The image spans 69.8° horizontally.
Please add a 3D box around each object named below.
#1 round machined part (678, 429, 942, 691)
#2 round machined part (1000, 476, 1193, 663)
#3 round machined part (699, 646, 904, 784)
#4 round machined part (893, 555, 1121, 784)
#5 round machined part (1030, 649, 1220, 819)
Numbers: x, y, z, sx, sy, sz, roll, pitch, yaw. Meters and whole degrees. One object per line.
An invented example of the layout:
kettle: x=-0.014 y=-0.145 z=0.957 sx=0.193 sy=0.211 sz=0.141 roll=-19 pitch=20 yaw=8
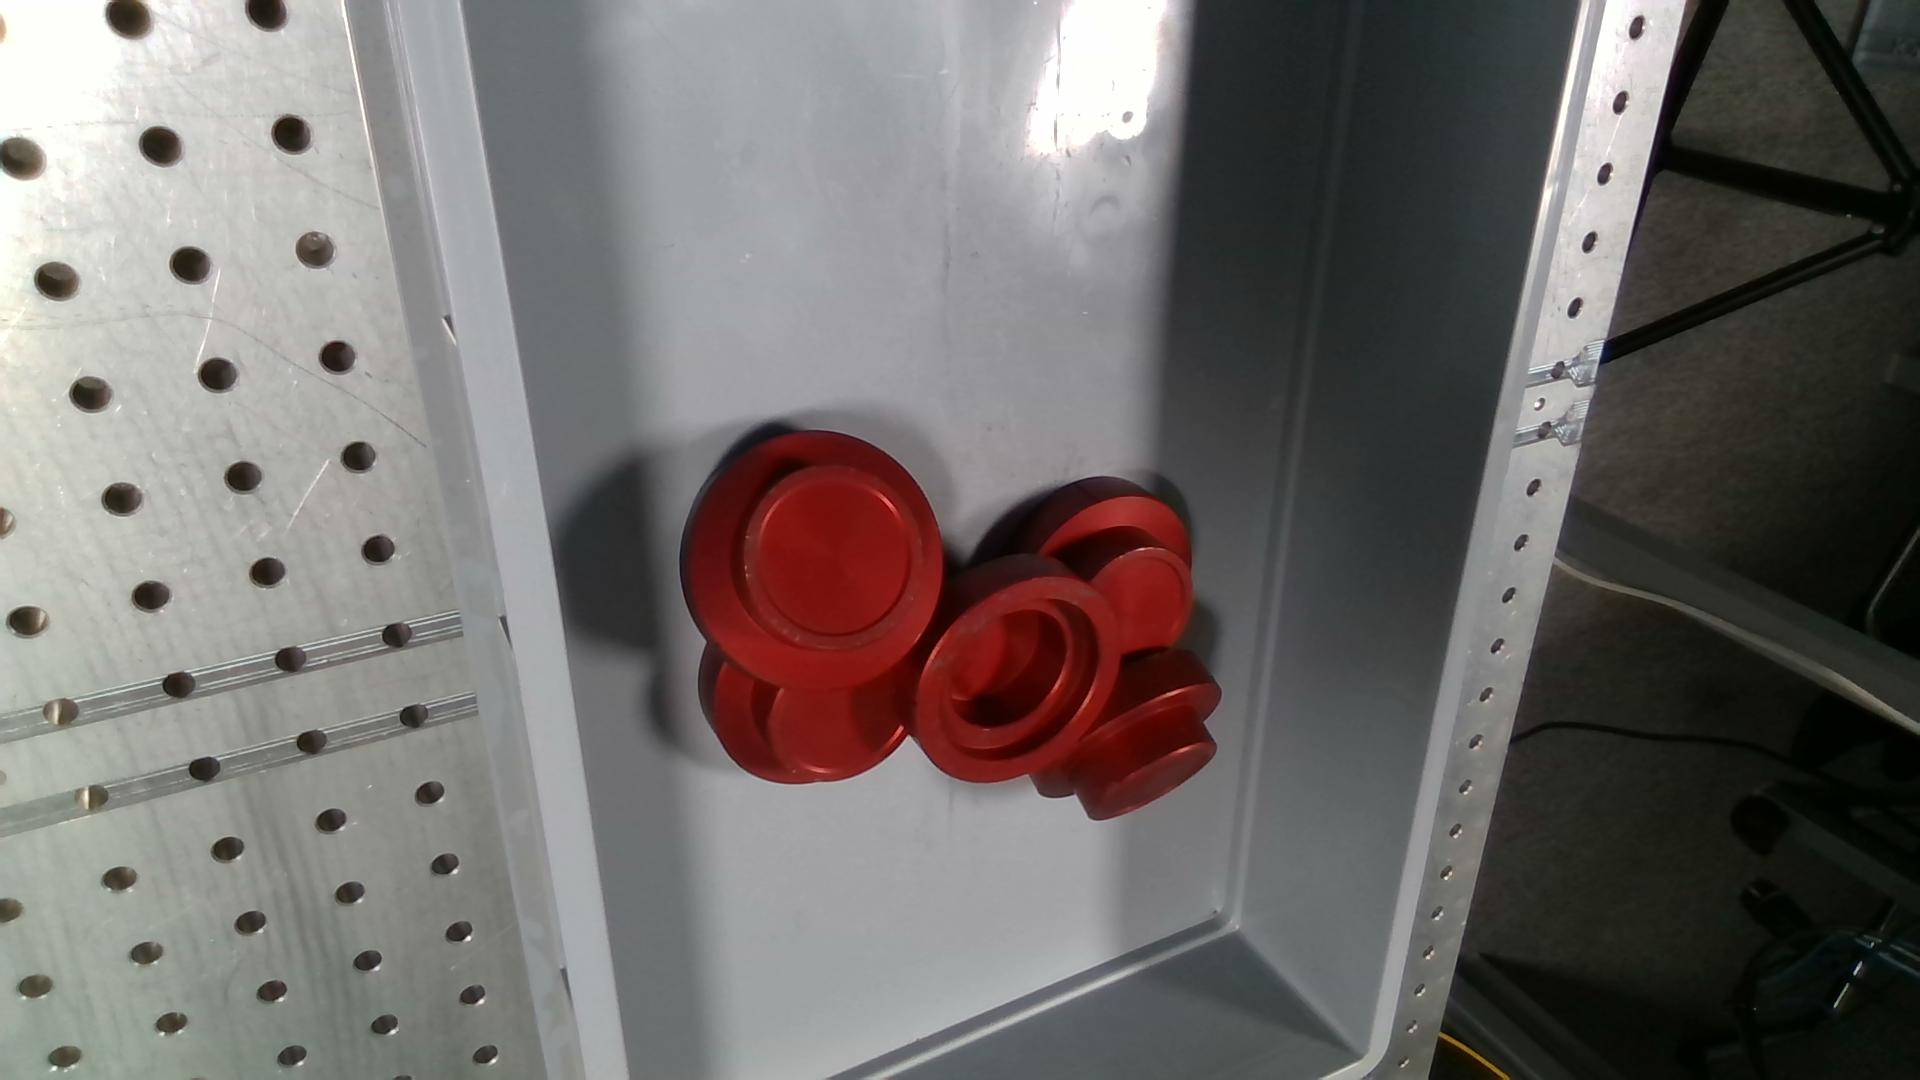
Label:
round machined part: x=-0.052 y=0.007 z=0.513 sx=0.098 sy=0.042 sz=0.098 roll=1 pitch=86 yaw=-21
round machined part: x=0.065 y=0.024 z=0.621 sx=0.098 sy=0.042 sz=0.098 roll=-14 pitch=122 yaw=-25
round machined part: x=-0.055 y=0.059 z=0.567 sx=0.098 sy=0.042 sz=0.098 roll=-14 pitch=122 yaw=-25
round machined part: x=0.015 y=0.049 z=0.576 sx=0.098 sy=0.042 sz=0.098 roll=-14 pitch=122 yaw=-25
round machined part: x=0.079 y=0.095 z=0.641 sx=0.098 sy=0.042 sz=0.098 roll=-24 pitch=155 yaw=-12
